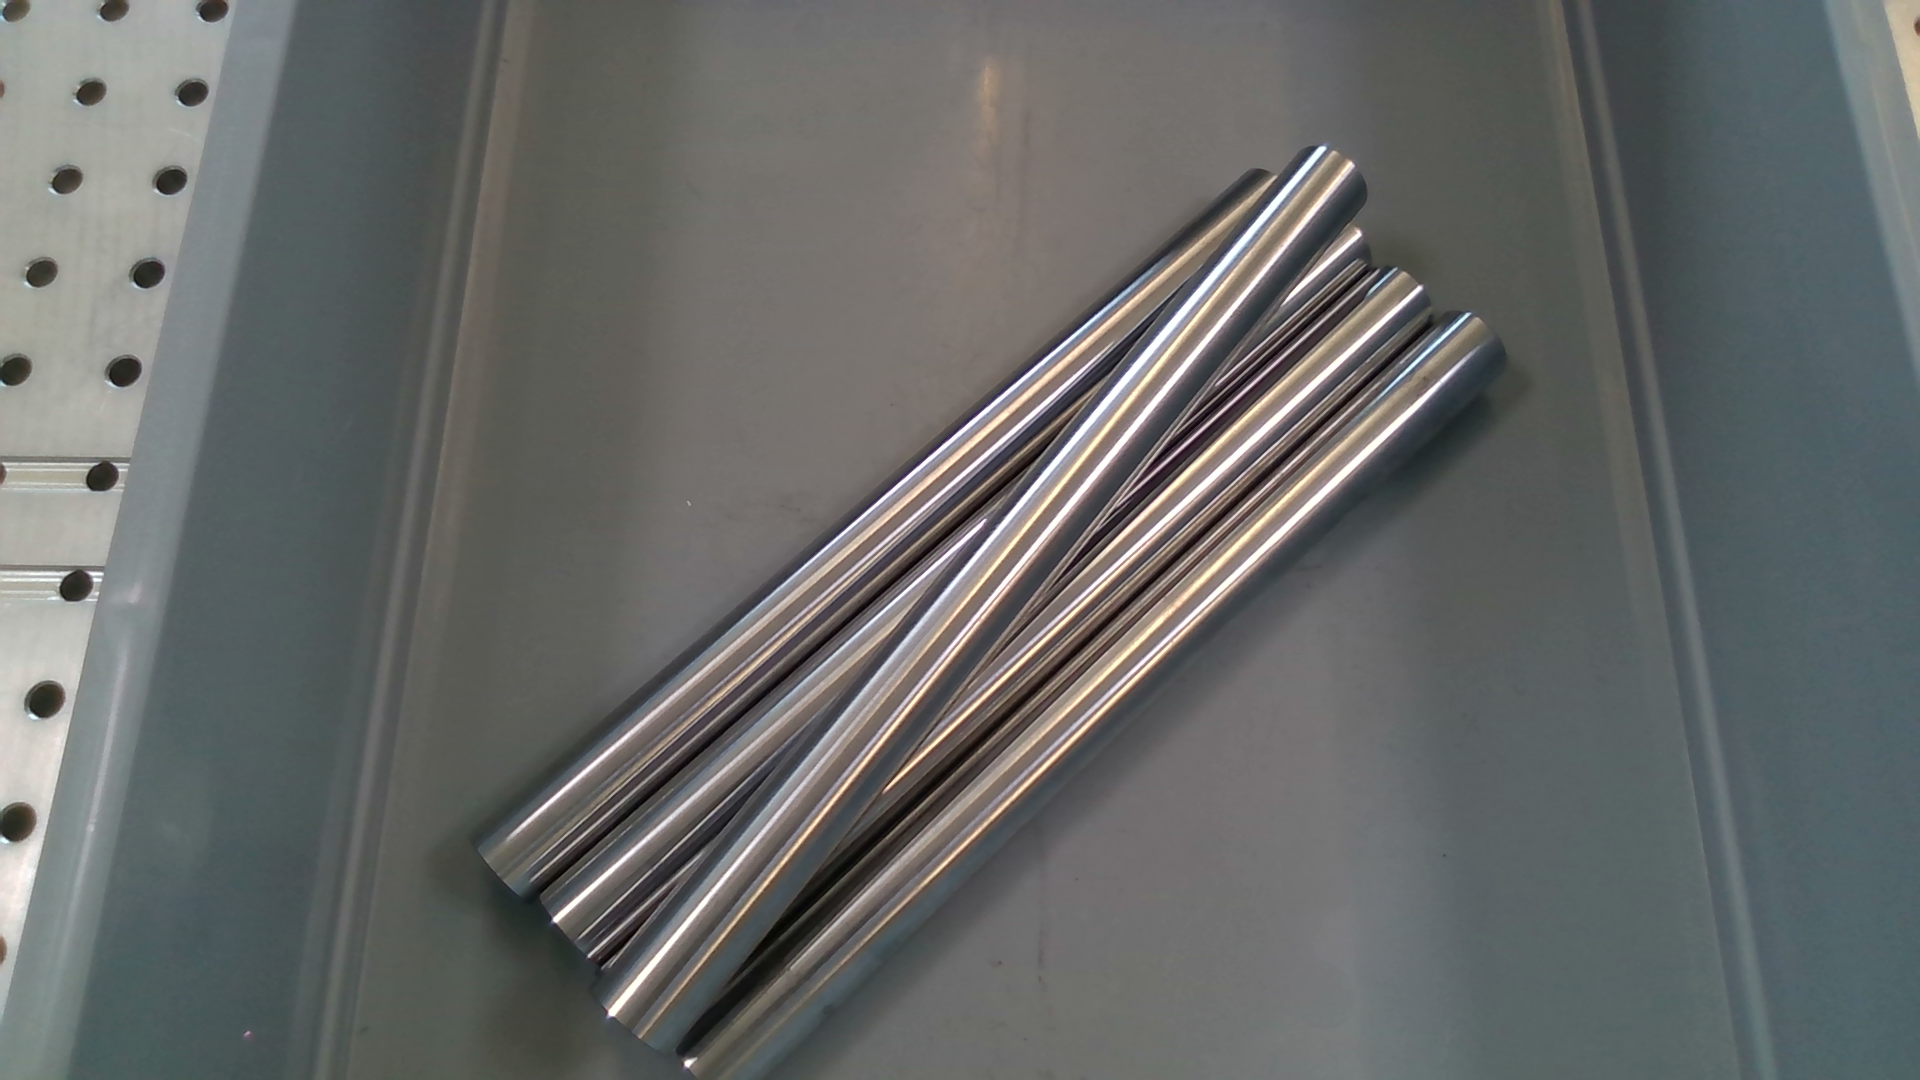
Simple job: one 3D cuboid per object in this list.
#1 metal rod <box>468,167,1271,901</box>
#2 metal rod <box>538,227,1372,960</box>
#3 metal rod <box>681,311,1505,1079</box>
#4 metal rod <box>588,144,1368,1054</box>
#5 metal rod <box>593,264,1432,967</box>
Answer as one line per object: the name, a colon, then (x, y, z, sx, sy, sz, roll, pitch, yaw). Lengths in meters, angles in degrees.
metal rod: (-0.012, -0.010, 0.398, 0.300, 0.025, 0.025, -41, 75, -13)
metal rod: (0.008, 0.004, 0.393, 0.300, 0.025, 0.025, -41, 75, -13)
metal rod: (0.044, 0.037, 0.382, 0.300, 0.025, 0.025, -41, 75, -13)
metal rod: (0.015, 0.004, 0.366, 0.025, 0.025, 0.300, 37, 75, 12)
metal rod: (0.024, 0.022, 0.387, 0.300, 0.025, 0.025, -41, 75, -13)
